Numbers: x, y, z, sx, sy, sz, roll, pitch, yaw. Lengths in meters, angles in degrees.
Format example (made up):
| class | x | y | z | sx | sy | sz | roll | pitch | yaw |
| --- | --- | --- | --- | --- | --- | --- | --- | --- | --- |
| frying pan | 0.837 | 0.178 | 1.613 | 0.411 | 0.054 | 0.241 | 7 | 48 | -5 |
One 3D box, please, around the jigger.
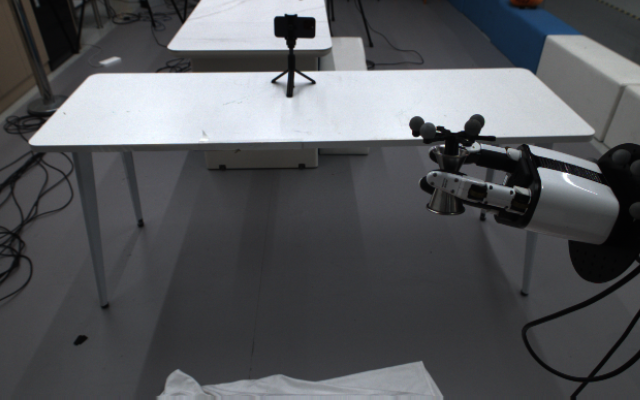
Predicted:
| class | x | y | z | sx | sy | sz | roll | pitch | yaw |
| --- | --- | --- | --- | --- | --- | --- | --- | --- | --- |
| jigger | 0.141 | -0.024 | 0.549 | 0.043 | 0.071 | 0.043 | 0 | 21 | 0 |
